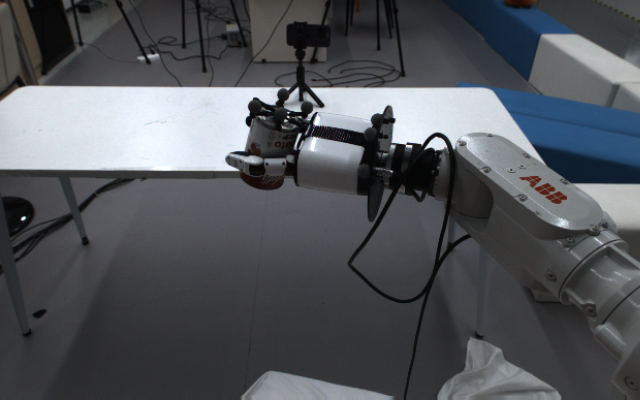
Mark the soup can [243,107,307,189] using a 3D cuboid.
[{"bbox_3d":[-0.071,-0.074,0.682,0.067,0.101,0.067,14,35,-10],"label":"soup can"}]
